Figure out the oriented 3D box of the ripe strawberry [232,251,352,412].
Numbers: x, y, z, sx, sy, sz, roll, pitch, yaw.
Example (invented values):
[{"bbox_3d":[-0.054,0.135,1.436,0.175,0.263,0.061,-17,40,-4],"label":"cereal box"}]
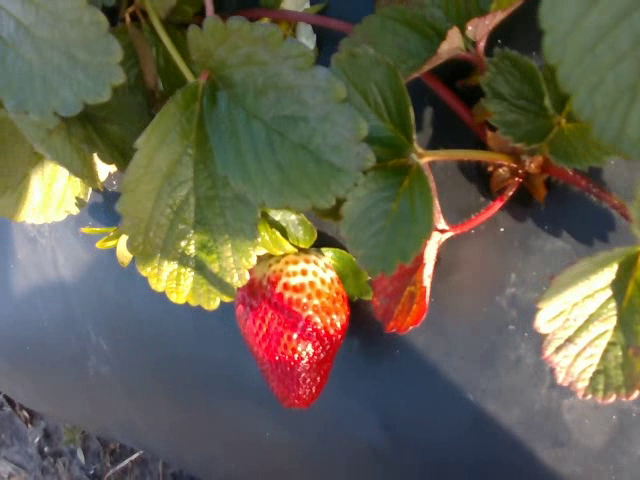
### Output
[{"bbox_3d":[-0.011,0.029,0.195,0.040,0.056,0.040,5,-19,-28],"label":"ripe strawberry"}]
